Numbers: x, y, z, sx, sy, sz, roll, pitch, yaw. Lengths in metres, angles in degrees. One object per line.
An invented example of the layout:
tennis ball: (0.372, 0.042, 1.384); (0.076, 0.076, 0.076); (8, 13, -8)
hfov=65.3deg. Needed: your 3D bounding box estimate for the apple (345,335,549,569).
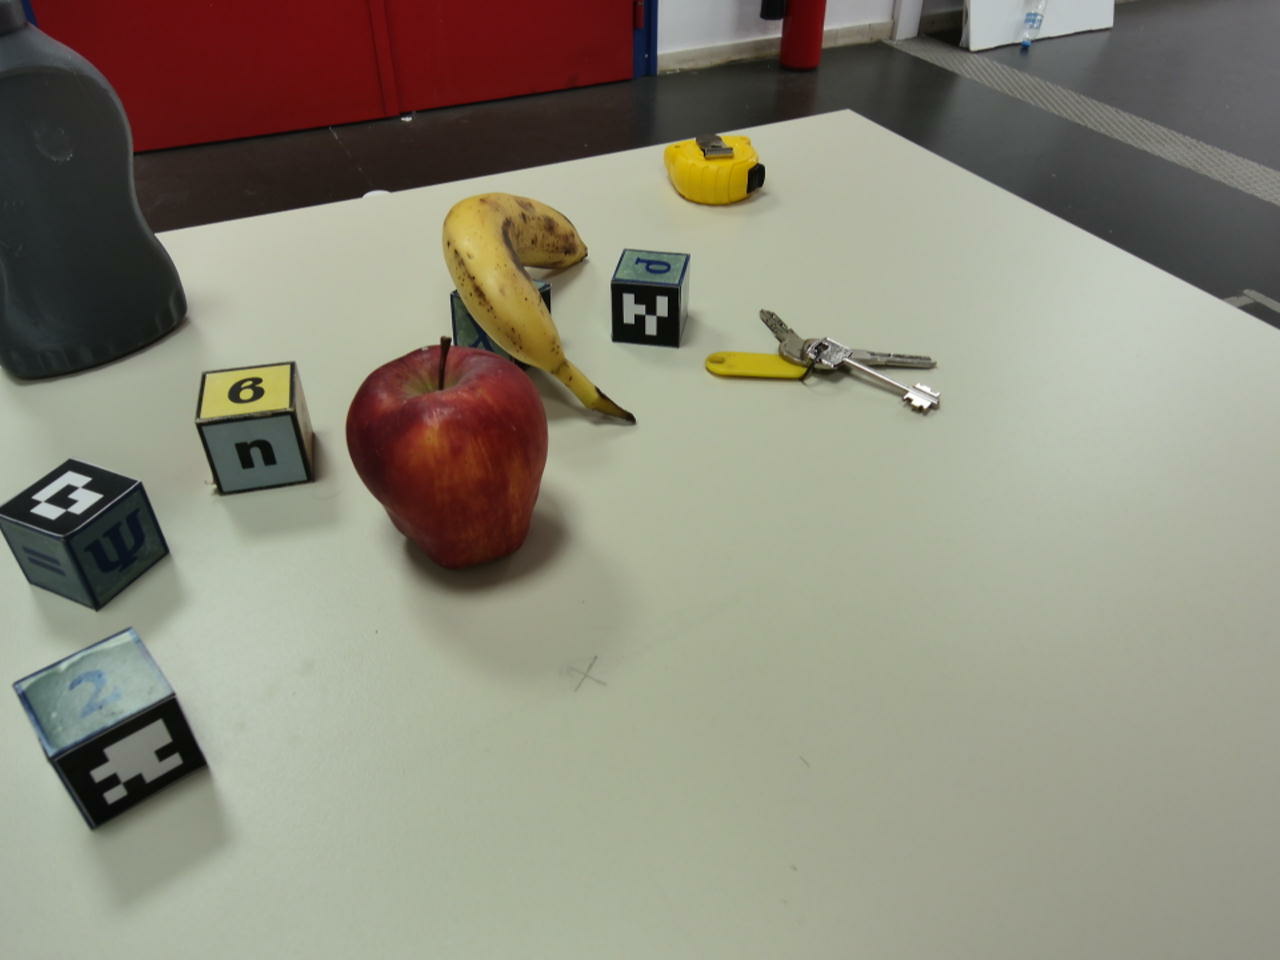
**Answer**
apple: (-0.075, -0.015, 0.395); (0.083, 0.090, 0.083); (0, 38, 0)
